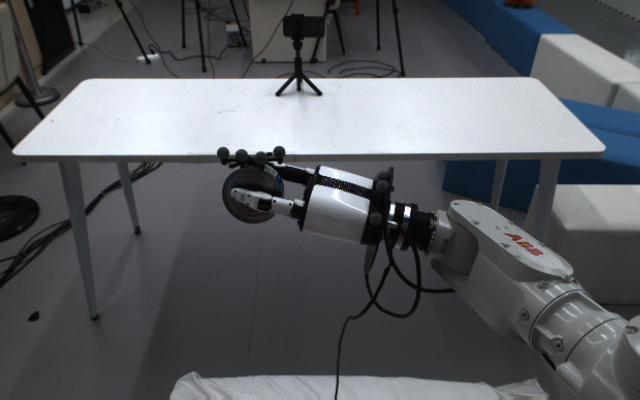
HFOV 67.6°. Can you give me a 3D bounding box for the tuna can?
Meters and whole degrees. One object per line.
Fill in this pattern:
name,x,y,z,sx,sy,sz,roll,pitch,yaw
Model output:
tuna can,-0.090,-0.010,0.698,0.085,0.085,0.034,4,18,3
